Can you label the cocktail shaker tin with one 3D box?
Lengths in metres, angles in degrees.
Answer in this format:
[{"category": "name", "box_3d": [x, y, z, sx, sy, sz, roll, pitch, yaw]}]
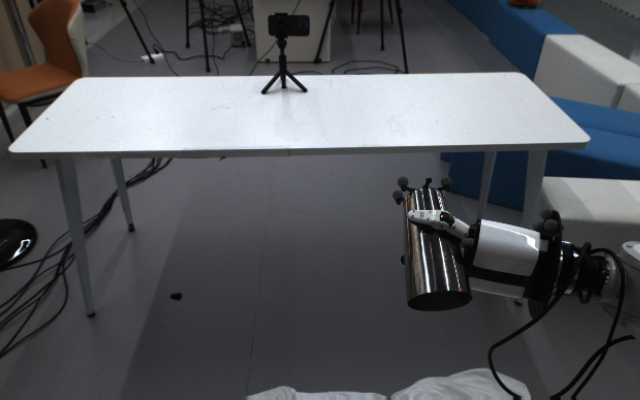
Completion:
[{"category": "cocktail shaker tin", "box_3d": [0.166, 0.069, 0.724, 0.093, 0.093, 0.170, 0, 59, -3]}]
